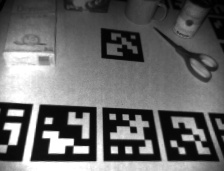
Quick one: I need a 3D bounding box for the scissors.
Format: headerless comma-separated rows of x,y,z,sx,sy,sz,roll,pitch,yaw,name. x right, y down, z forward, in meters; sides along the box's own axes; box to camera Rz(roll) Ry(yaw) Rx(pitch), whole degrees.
0.177,-0.089,0.547,0.088,0.016,0.201,-40,75,-20,scissors

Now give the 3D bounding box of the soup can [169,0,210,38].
0.201,-0.187,0.573,0.068,0.102,0.067,6,56,-8,soup can

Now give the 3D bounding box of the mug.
0.086,-0.226,0.573,0.094,0.081,0.116,-32,68,-25,mug

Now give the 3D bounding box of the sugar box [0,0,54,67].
-0.179,-0.122,0.473,0.093,0.045,0.175,0,60,-11,sugar box

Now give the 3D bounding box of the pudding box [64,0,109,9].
-0.060,-0.238,0.538,0.115,0.090,0.038,-5,66,-16,pudding box
